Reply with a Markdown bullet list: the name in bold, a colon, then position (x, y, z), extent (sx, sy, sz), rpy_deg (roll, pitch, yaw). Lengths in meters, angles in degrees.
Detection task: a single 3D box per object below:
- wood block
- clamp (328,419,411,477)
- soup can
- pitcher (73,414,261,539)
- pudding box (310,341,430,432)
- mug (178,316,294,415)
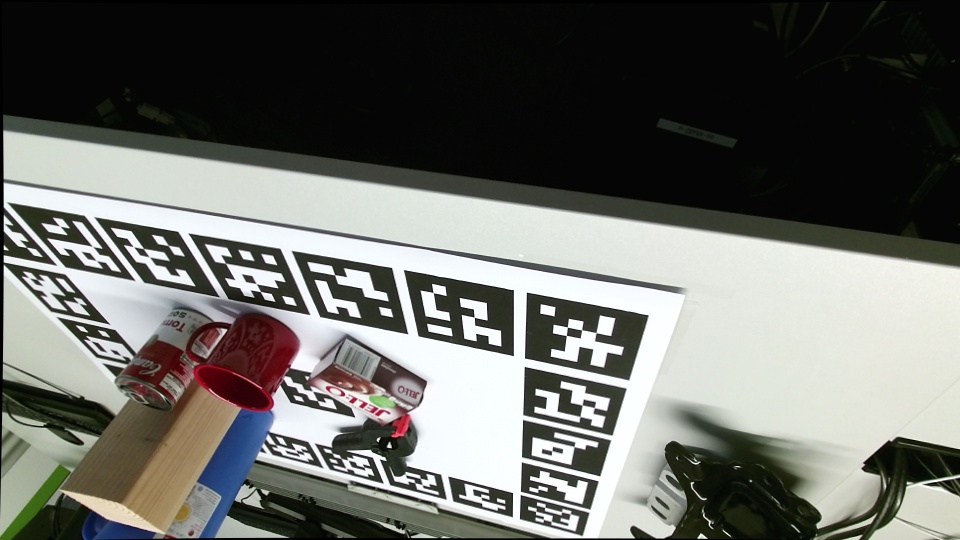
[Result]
- **wood block**: position (-0.393, 0.205, 0.658), extent (0.090, 0.205, 0.091), rpy_deg (9, 137, 16)
- **clamp**: position (-0.143, 0.244, 0.747), extent (0.122, 0.036, 0.165), rpy_deg (34, 135, -5)
- **soup can**: position (-0.367, 0.109, 0.626), extent (0.068, 0.101, 0.068), rpy_deg (9, 134, 10)
- **pitcher**: position (-0.417, 0.298, 0.739), extent (0.189, 0.241, 0.133), rpy_deg (6, 138, 10)
- **pudding box**: position (-0.129, 0.138, 0.625), extent (0.114, 0.038, 0.090), rpy_deg (34, 132, -17)
- **mug**: position (-0.275, 0.100, 0.602), extent (0.117, 0.081, 0.093), rpy_deg (33, 138, -16)
